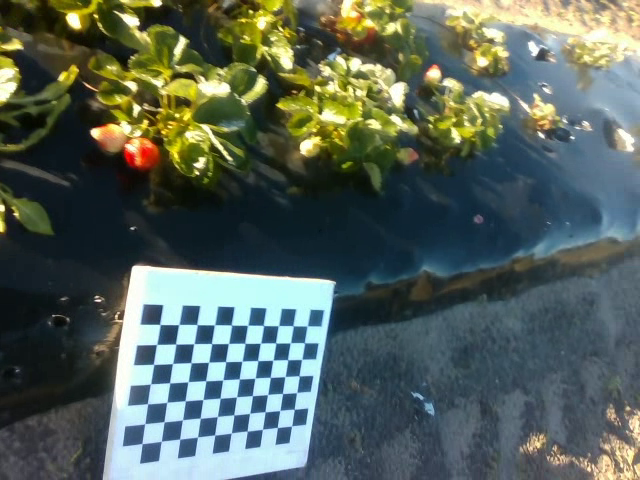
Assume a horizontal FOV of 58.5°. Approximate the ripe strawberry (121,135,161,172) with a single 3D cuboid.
[{"bbox_3d":[-0.194,-0.091,0.608,0.040,0.038,0.056,-7,16,-5],"label":"ripe strawberry"}]
